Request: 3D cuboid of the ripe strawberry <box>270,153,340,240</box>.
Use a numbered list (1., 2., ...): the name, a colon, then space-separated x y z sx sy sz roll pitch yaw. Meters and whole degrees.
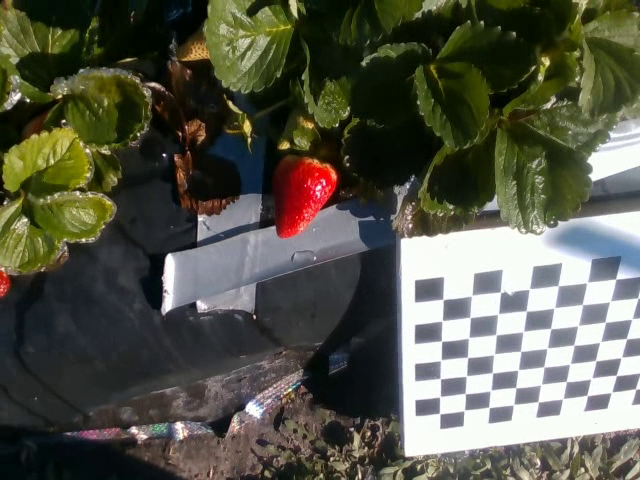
1. ripe strawberry: -0.012 -0.029 0.476 0.061 0.065 0.057 20 -14 -21
